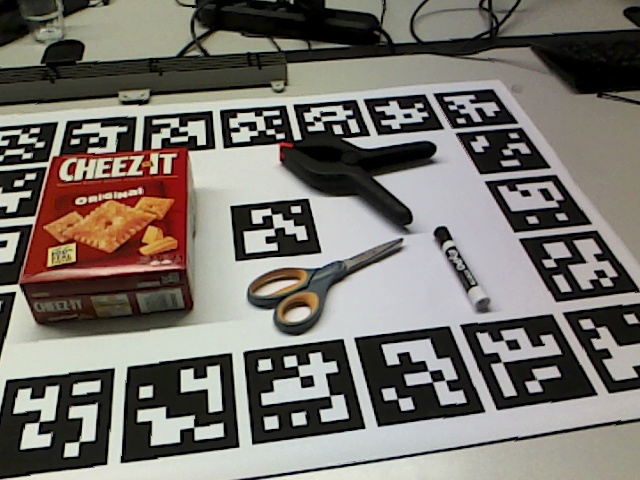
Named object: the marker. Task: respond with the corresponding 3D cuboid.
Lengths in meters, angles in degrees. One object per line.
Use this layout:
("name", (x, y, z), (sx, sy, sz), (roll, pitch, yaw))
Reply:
("marker", (0.157, 0.022, 0.710), (0.019, 0.019, 0.122), (-9, 43, -10))

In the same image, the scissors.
("scissors", (0.016, 0.035, 0.697), (0.202, 0.016, 0.088), (-27, 48, -29))

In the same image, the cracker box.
("cracker box", (-0.227, -0.012, 0.711), (0.164, 0.072, 0.214), (-6, 43, -6))

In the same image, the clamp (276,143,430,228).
("clamp", (0.033, -0.093, 0.843), (0.203, 0.036, 0.165), (15, 43, 15))
